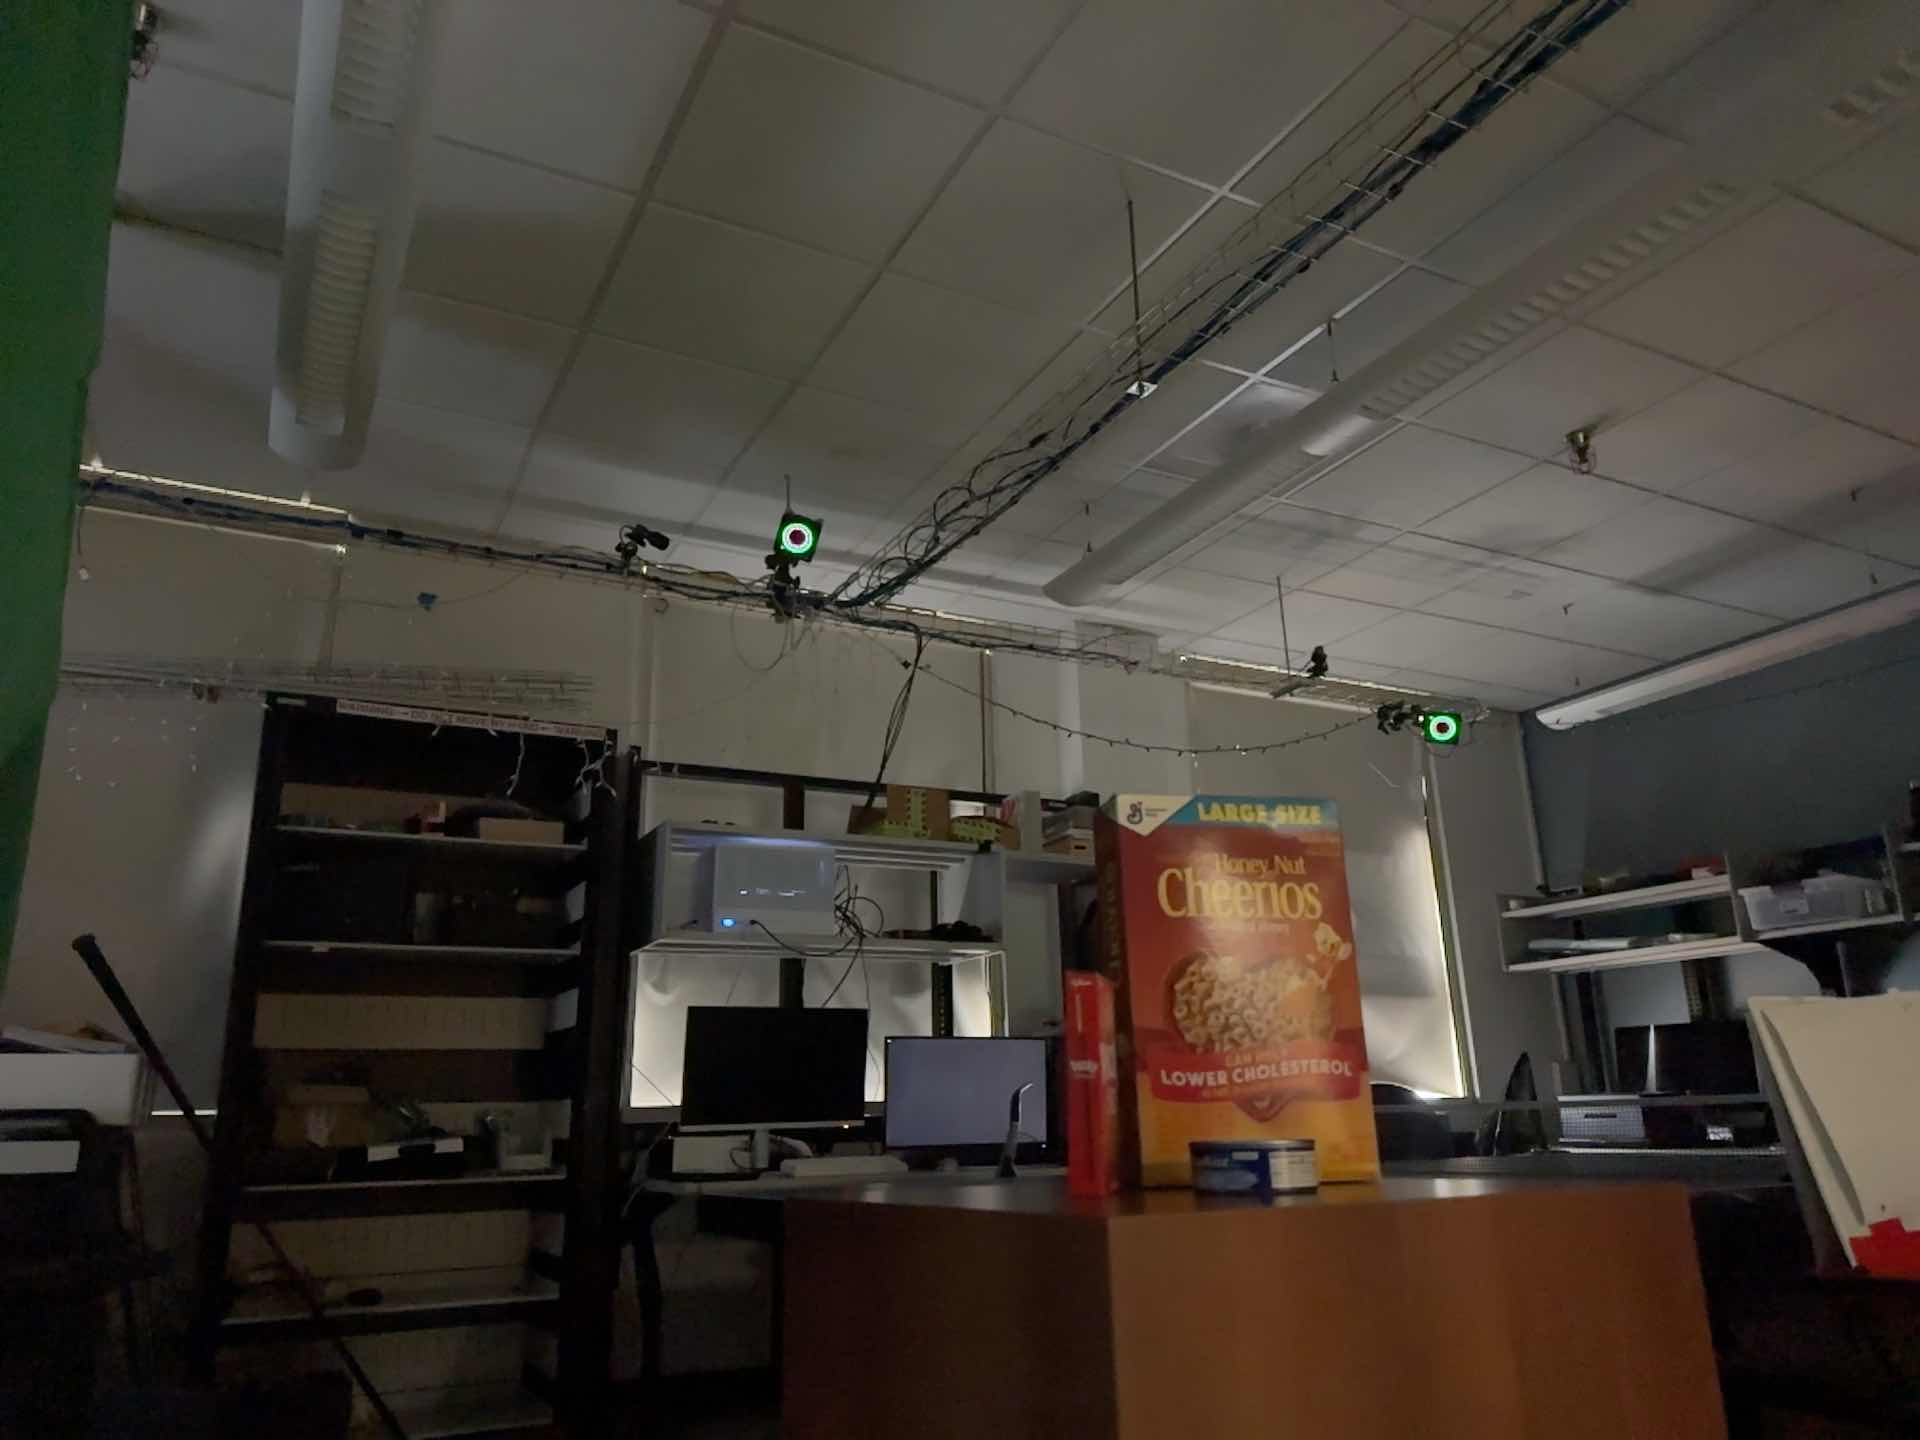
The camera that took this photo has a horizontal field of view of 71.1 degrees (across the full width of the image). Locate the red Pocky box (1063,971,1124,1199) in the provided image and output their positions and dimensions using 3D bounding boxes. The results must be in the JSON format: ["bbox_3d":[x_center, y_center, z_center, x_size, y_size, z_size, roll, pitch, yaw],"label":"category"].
[{"bbox_3d":[0.096,0.262,0.968,0.028,0.155,0.083,-5,-16,15],"label":"red Pocky box"}]

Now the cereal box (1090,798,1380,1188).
[{"bbox_3d":[0.220,0.217,1.101,0.195,0.297,0.065,3,-17,-14],"label":"cereal box"}]

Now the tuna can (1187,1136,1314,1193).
[{"bbox_3d":[0.200,0.306,0.928,0.083,0.034,0.083,-1,-16,0],"label":"tuna can"}]
